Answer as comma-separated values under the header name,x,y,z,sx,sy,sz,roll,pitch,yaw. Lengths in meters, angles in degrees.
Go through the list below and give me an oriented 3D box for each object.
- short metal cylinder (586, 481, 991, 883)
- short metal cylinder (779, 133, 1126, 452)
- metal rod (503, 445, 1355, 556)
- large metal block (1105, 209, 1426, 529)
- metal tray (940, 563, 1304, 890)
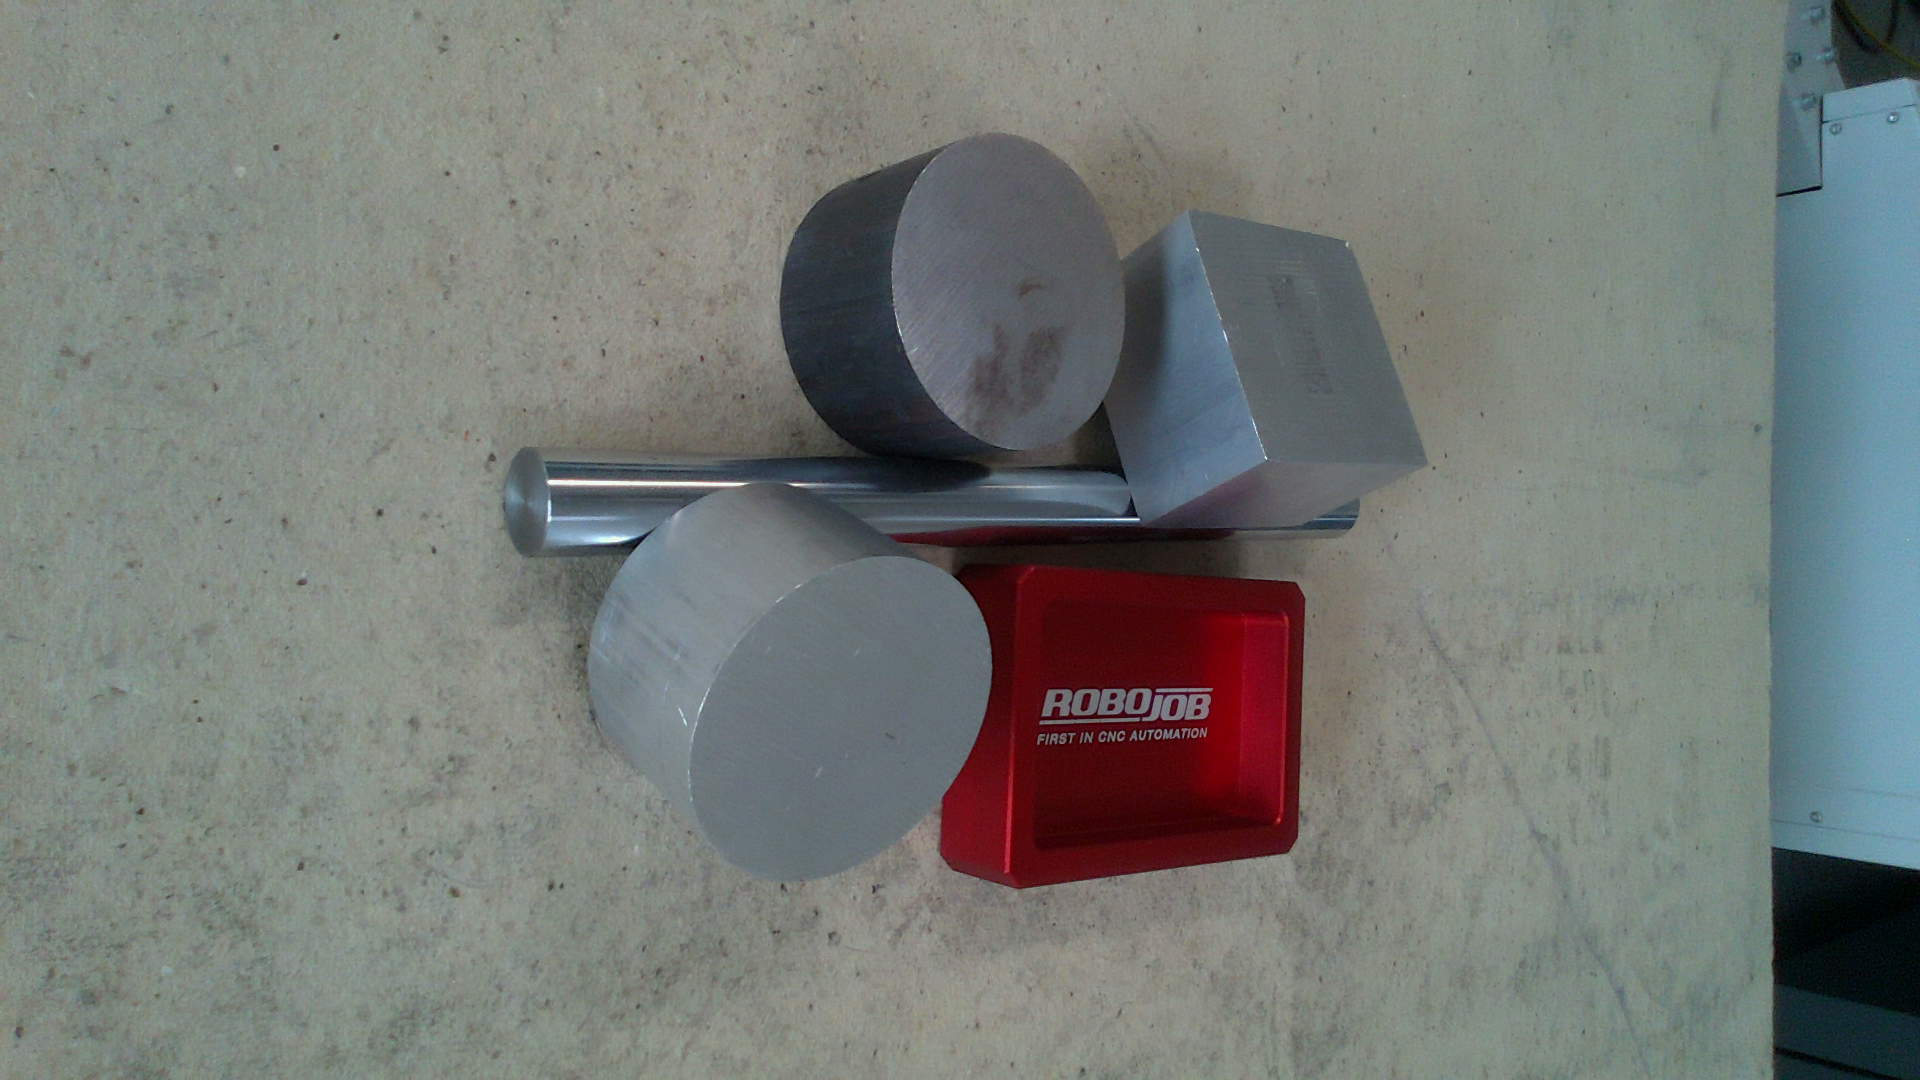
name,x,y,z,sx,sy,sz,roll,pitch,yaw
short metal cylinder,-0.040,0.032,0.324,0.080,0.050,0.080,-19,122,-33
short metal cylinder,-0.001,-0.063,0.372,0.080,0.050,0.080,1,89,-40
metal rod,0.018,-0.011,0.405,0.301,0.025,0.025,-1,91,-40
large metal block,0.090,-0.050,0.431,0.080,0.050,0.080,-1,69,-40
metal tray,0.055,0.055,0.430,0.131,0.030,0.090,4,87,-40
